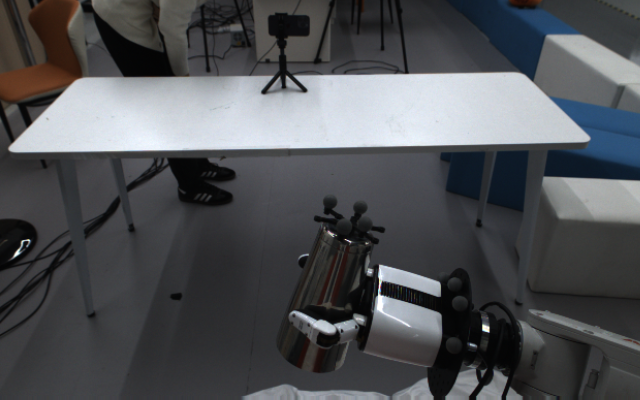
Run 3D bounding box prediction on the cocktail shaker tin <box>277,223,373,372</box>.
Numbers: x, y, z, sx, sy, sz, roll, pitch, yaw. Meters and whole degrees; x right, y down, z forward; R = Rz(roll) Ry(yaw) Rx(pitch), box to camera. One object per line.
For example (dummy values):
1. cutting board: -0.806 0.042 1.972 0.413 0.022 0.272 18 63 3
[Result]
1. cocktail shaker tin: 0.012 0.112 0.594 0.093 0.170 0.093 15 20 -5
